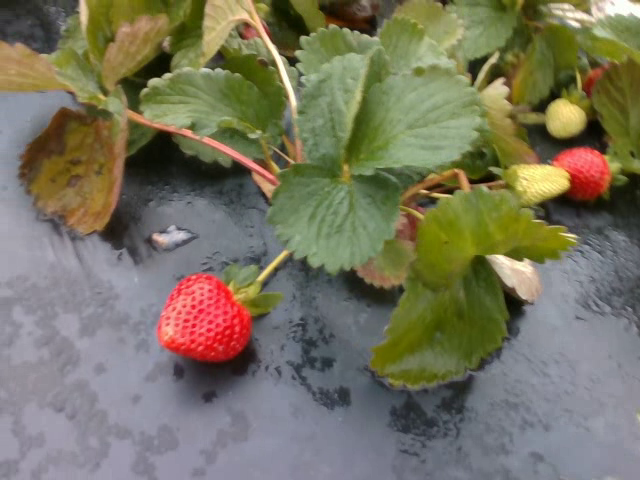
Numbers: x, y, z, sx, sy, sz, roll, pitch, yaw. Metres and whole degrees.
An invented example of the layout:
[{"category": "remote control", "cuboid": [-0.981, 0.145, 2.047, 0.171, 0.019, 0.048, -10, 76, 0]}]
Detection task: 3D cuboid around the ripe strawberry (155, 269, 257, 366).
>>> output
[{"category": "ripe strawberry", "cuboid": [-0.055, 0.039, 0.302, 0.045, 0.048, 0.053, 12, 21, 32]}]
